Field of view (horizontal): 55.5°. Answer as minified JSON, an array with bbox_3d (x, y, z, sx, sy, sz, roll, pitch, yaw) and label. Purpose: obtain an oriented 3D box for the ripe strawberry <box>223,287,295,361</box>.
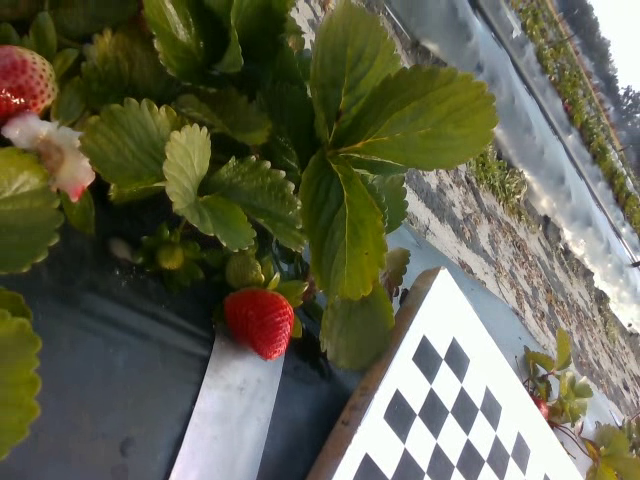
[{"bbox_3d":[-0.026,0.045,0.297,0.035,0.050,0.055,-22,28,24],"label":"ripe strawberry"}]
